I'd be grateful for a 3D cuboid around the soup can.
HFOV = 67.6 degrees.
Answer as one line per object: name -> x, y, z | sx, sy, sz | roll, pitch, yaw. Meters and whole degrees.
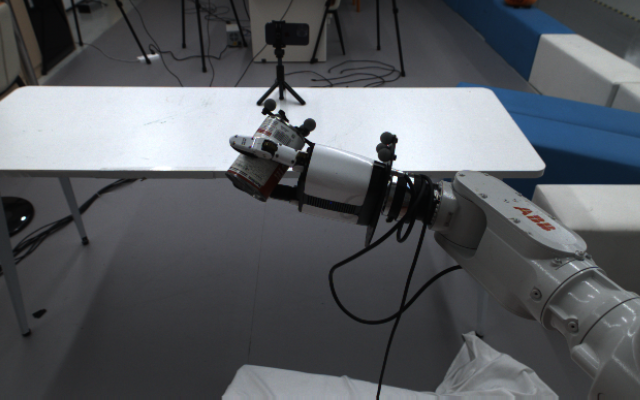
soup can -> -0.075, -0.057, 0.671 | 0.067, 0.067, 0.101 | 26, 75, 31
